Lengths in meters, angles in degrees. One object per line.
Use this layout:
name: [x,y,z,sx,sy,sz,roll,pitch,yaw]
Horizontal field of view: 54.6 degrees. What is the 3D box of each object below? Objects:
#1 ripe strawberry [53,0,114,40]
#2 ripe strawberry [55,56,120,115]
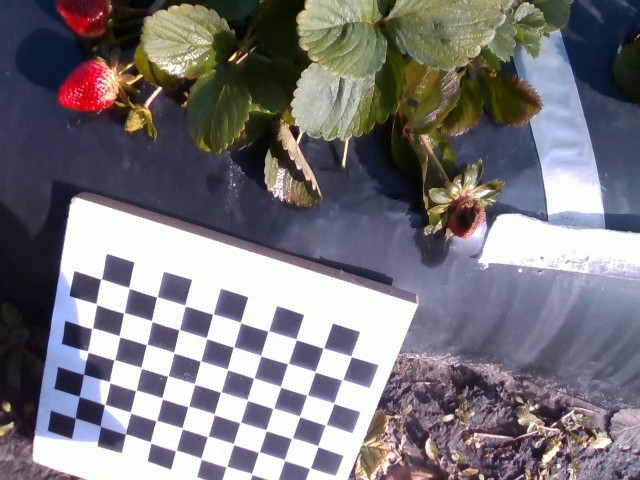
ripe strawberry: [-0.194,-0.191,0.506,0.054,0.048,0.039,27,18,-29]
ripe strawberry: [-0.187,-0.123,0.491,0.053,0.043,0.038,-36,15,-27]
